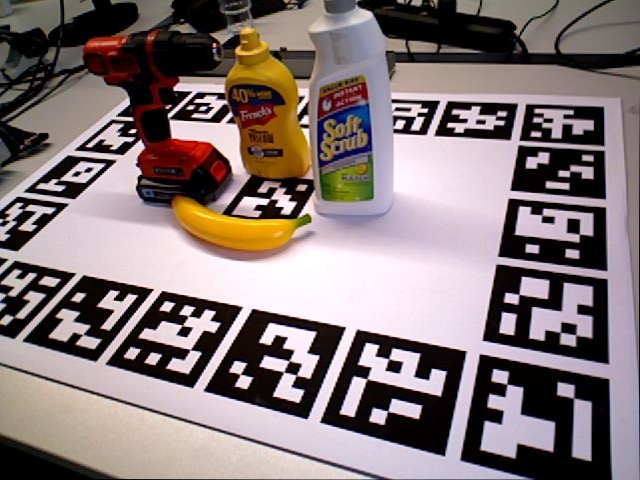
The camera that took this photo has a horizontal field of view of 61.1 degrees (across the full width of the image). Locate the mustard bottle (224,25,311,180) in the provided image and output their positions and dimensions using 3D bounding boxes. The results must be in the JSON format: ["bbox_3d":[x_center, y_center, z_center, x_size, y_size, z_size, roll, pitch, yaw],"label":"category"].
[{"bbox_3d":[-0.069,-0.168,0.677,0.096,0.195,0.057,9,45,19],"label":"mustard bottle"}]

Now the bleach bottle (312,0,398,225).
[{"bbox_3d":[0.030,-0.131,0.579,0.103,0.255,0.066,2,44,14],"label":"bleach bottle"}]

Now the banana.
[{"bbox_3d":[-0.102,-0.018,0.633,0.198,0.039,0.072,8,49,24],"label":"banana"}]

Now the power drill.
[{"bbox_3d":[-0.187,-0.155,0.661,0.185,0.191,0.056,7,38,16],"label":"power drill"}]
